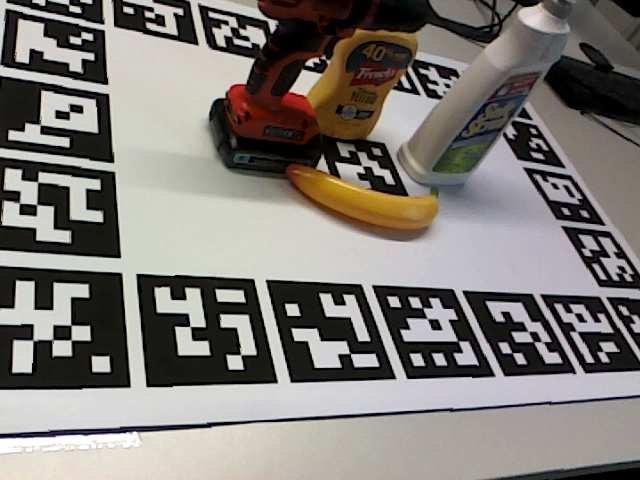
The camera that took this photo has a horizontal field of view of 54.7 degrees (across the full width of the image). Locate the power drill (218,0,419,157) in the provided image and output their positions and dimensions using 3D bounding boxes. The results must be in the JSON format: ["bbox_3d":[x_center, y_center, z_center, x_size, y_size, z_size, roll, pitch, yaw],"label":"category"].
[{"bbox_3d":[-0.010,-0.174,0.616,0.183,0.187,0.058,4,43,-32],"label":"power drill"}]

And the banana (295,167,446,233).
[{"bbox_3d":[0.066,-0.044,0.679,0.196,0.039,0.074,6,53,-24],"label":"banana"}]

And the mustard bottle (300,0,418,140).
[{"bbox_3d":[0.056,-0.202,0.711,0.095,0.192,0.059,6,48,-29],"label":"mustard bottle"}]

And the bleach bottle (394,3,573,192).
[{"bbox_3d":[0.193,-0.162,0.723,0.102,0.251,0.068,-3,54,-33],"label":"bleach bottle"}]
